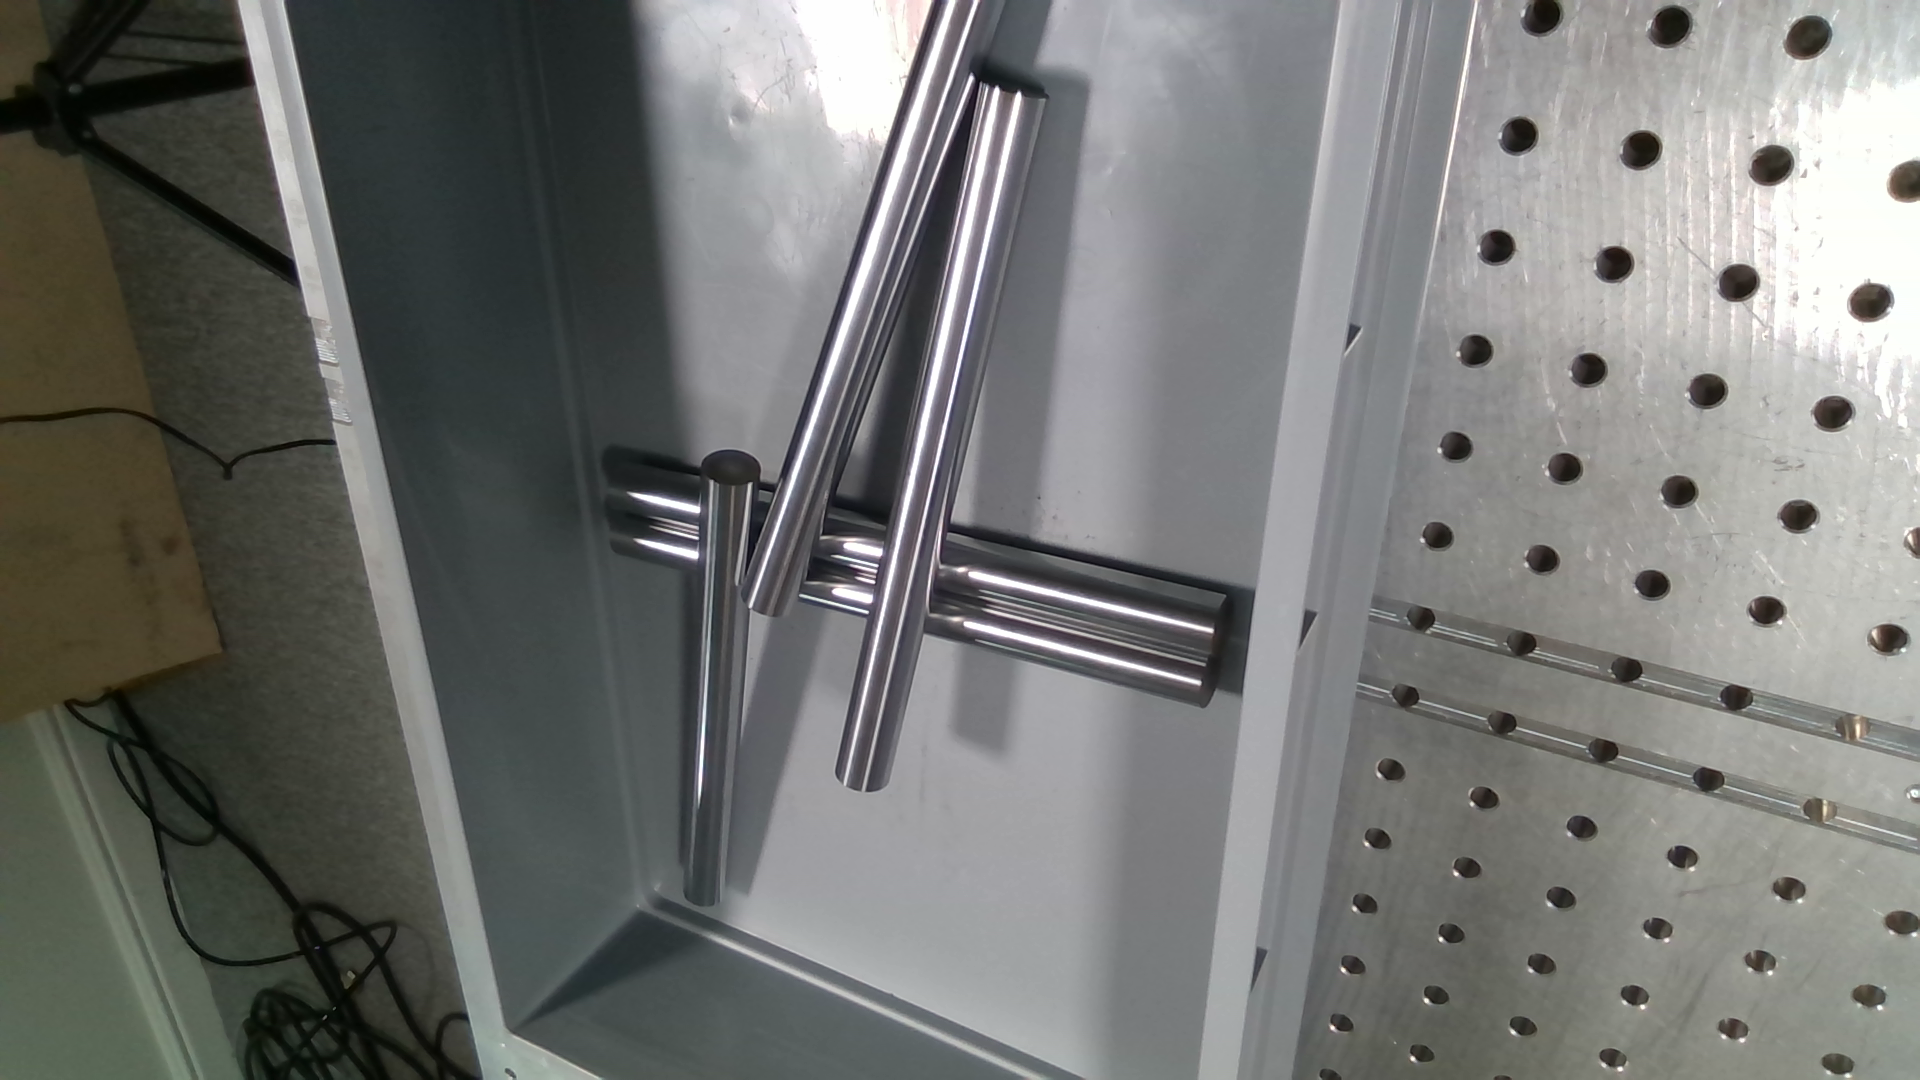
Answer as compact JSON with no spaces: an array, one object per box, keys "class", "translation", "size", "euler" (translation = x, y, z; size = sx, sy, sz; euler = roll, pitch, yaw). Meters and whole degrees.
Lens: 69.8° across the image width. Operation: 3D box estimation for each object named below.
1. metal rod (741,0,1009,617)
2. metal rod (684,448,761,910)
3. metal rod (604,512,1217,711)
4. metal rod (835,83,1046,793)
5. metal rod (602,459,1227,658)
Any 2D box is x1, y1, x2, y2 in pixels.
[{"class":"metal rod","translation":[-0.035,-0.093,0.533],"size":[0.025,0.025,0.301],"euler":[31,122,14]},{"class":"metal rod","translation":[-0.120,0.083,0.675],"size":[0.025,0.025,0.301],"euler":[26,132,17]},{"class":"metal rod","translation":[-0.034,0.026,0.611],"size":[0.300,0.025,0.025],"euler":[13,121,25]},{"class":"metal rod","translation":[-0.013,-0.026,0.547],"size":[0.025,0.025,0.301],"euler":[23,118,19]},{"class":"metal rod","translation":[-0.032,0.003,0.598],"size":[0.300,0.025,0.025],"euler":[13,121,25]}]
